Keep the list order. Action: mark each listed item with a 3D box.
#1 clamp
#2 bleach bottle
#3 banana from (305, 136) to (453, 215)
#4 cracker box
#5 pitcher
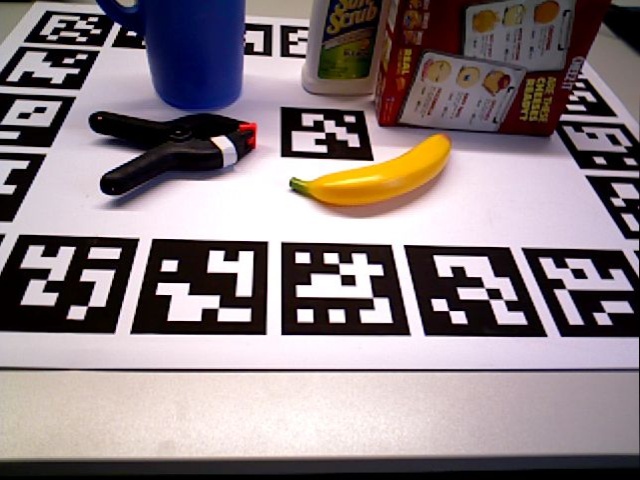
[{"bbox_3d":[-0.137,-0.089,0.551,0.162,0.037,0.121,-11,45,-20],"label":"clamp"},{"bbox_3d":[0.030,-0.284,0.618,0.102,0.257,0.067,0,43,-7],"label":"bleach bottle"},{"bbox_3d":[0.081,-0.066,0.563,0.193,0.040,0.074,-27,52,-30],"label":"banana"},{"bbox_3d":[0.187,-0.212,0.601,0.212,0.168,0.071,0,41,-4],"label":"cracker box"},{"bbox_3d":[-0.149,-0.271,0.556,0.186,0.248,0.132,-12,46,-22],"label":"pitcher"}]
